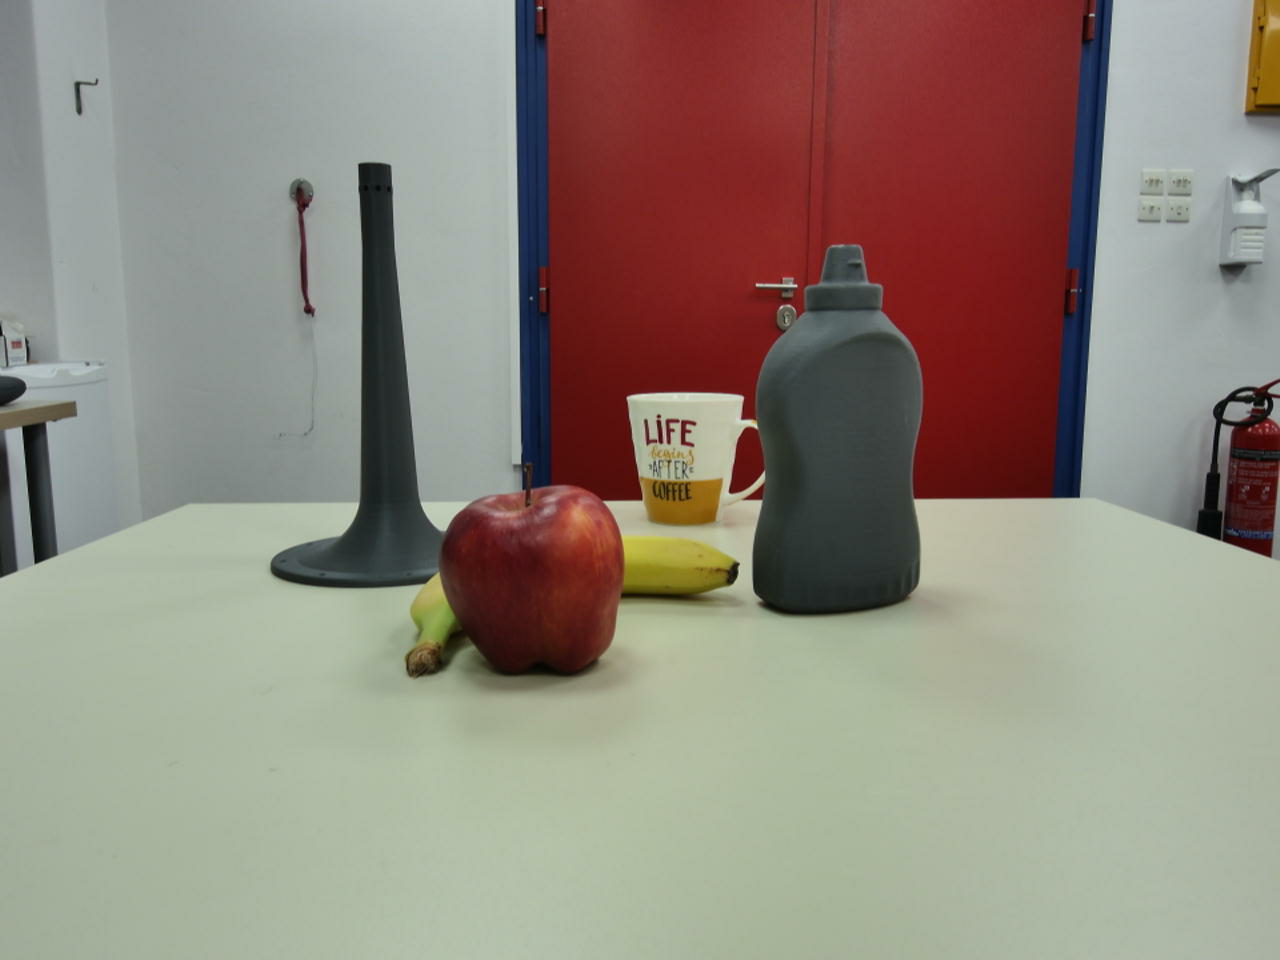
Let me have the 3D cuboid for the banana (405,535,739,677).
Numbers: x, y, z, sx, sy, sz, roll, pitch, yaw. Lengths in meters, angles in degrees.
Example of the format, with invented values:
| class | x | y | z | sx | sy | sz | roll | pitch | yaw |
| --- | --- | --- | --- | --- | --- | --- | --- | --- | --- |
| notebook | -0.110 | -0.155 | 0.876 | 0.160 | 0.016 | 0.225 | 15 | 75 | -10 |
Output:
| class | x | y | z | sx | sy | sz | roll | pitch | yaw |
| --- | --- | --- | --- | --- | --- | --- | --- | --- | --- |
| banana | -0.047 | 0.055 | 0.525 | 0.196 | 0.041 | 0.094 | -5 | 8 | -36 |
